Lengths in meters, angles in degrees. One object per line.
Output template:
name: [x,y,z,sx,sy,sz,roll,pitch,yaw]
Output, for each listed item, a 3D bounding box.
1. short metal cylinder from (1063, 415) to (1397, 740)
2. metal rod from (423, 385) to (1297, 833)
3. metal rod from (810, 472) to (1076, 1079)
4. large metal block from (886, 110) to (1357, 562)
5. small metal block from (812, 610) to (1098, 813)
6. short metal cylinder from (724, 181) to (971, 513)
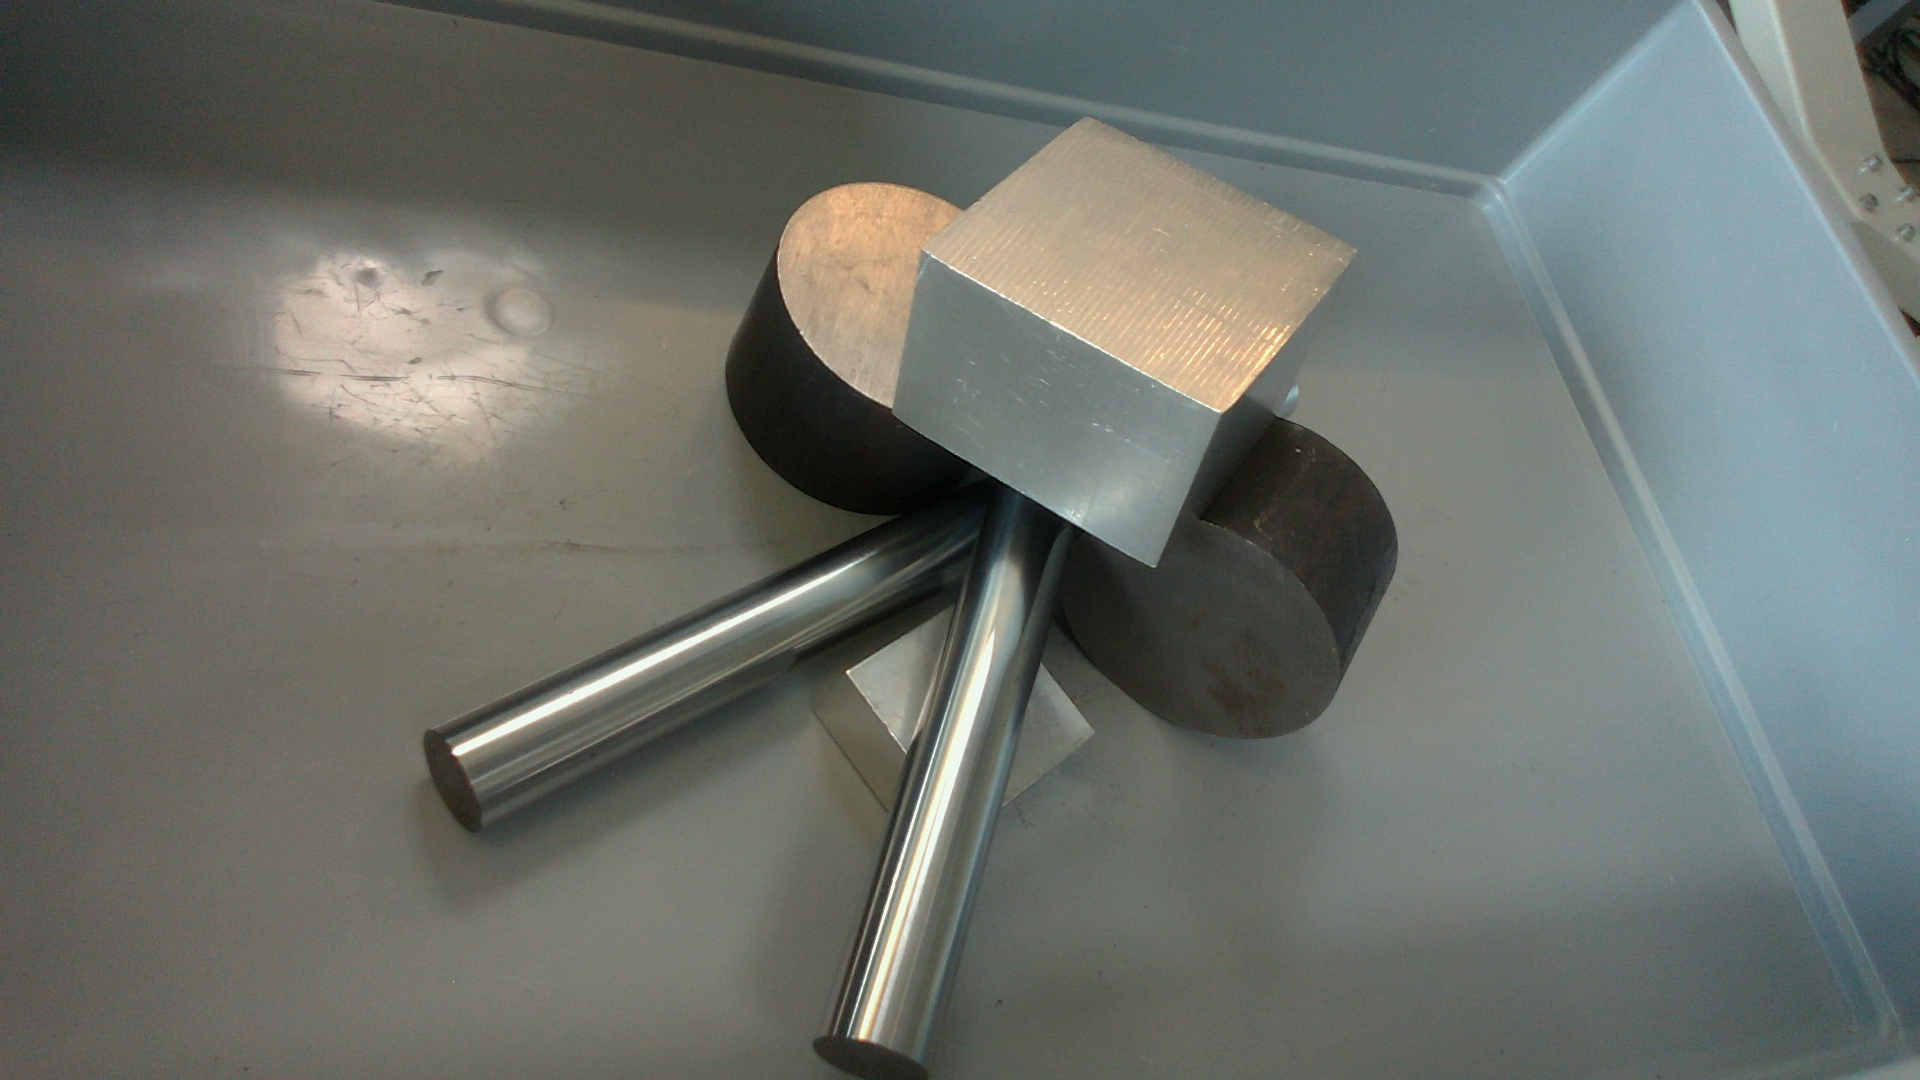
short metal cylinder: [0.076,0.010,0.388,0.080,0.080,0.050,40,52,-1]
metal rod: [-0.002,-0.001,0.388,0.301,0.025,0.025,-26,76,-37]
metal rod: [0.019,-0.007,0.371,0.025,0.025,0.300,27,52,-11]
large metal block: [0.040,-0.054,0.345,0.080,0.050,0.080,32,50,15]
small metal block: [-0.001,0.048,0.359,0.050,0.025,0.050,-31,79,-38]
short metal cylinder: [-0.022,-0.055,0.394,0.080,0.050,0.080,14,56,-21]
